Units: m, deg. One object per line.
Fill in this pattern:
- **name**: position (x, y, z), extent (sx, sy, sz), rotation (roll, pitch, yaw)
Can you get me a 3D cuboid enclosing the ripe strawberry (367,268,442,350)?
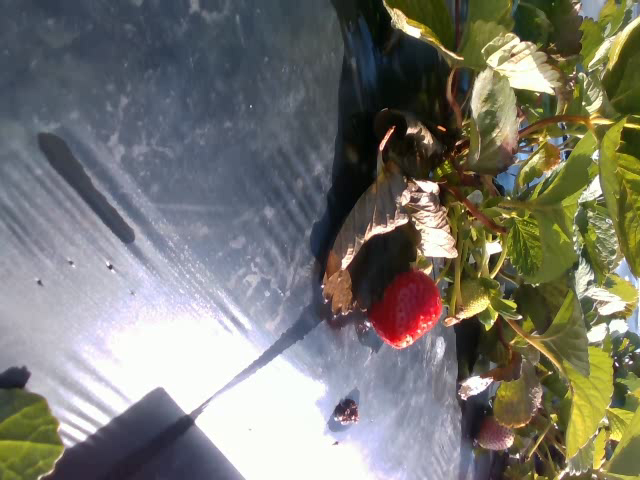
- **ripe strawberry**: position (0.033, 0.035, 0.245), extent (0.037, 0.047, 0.054), rotation (10, 33, 17)
